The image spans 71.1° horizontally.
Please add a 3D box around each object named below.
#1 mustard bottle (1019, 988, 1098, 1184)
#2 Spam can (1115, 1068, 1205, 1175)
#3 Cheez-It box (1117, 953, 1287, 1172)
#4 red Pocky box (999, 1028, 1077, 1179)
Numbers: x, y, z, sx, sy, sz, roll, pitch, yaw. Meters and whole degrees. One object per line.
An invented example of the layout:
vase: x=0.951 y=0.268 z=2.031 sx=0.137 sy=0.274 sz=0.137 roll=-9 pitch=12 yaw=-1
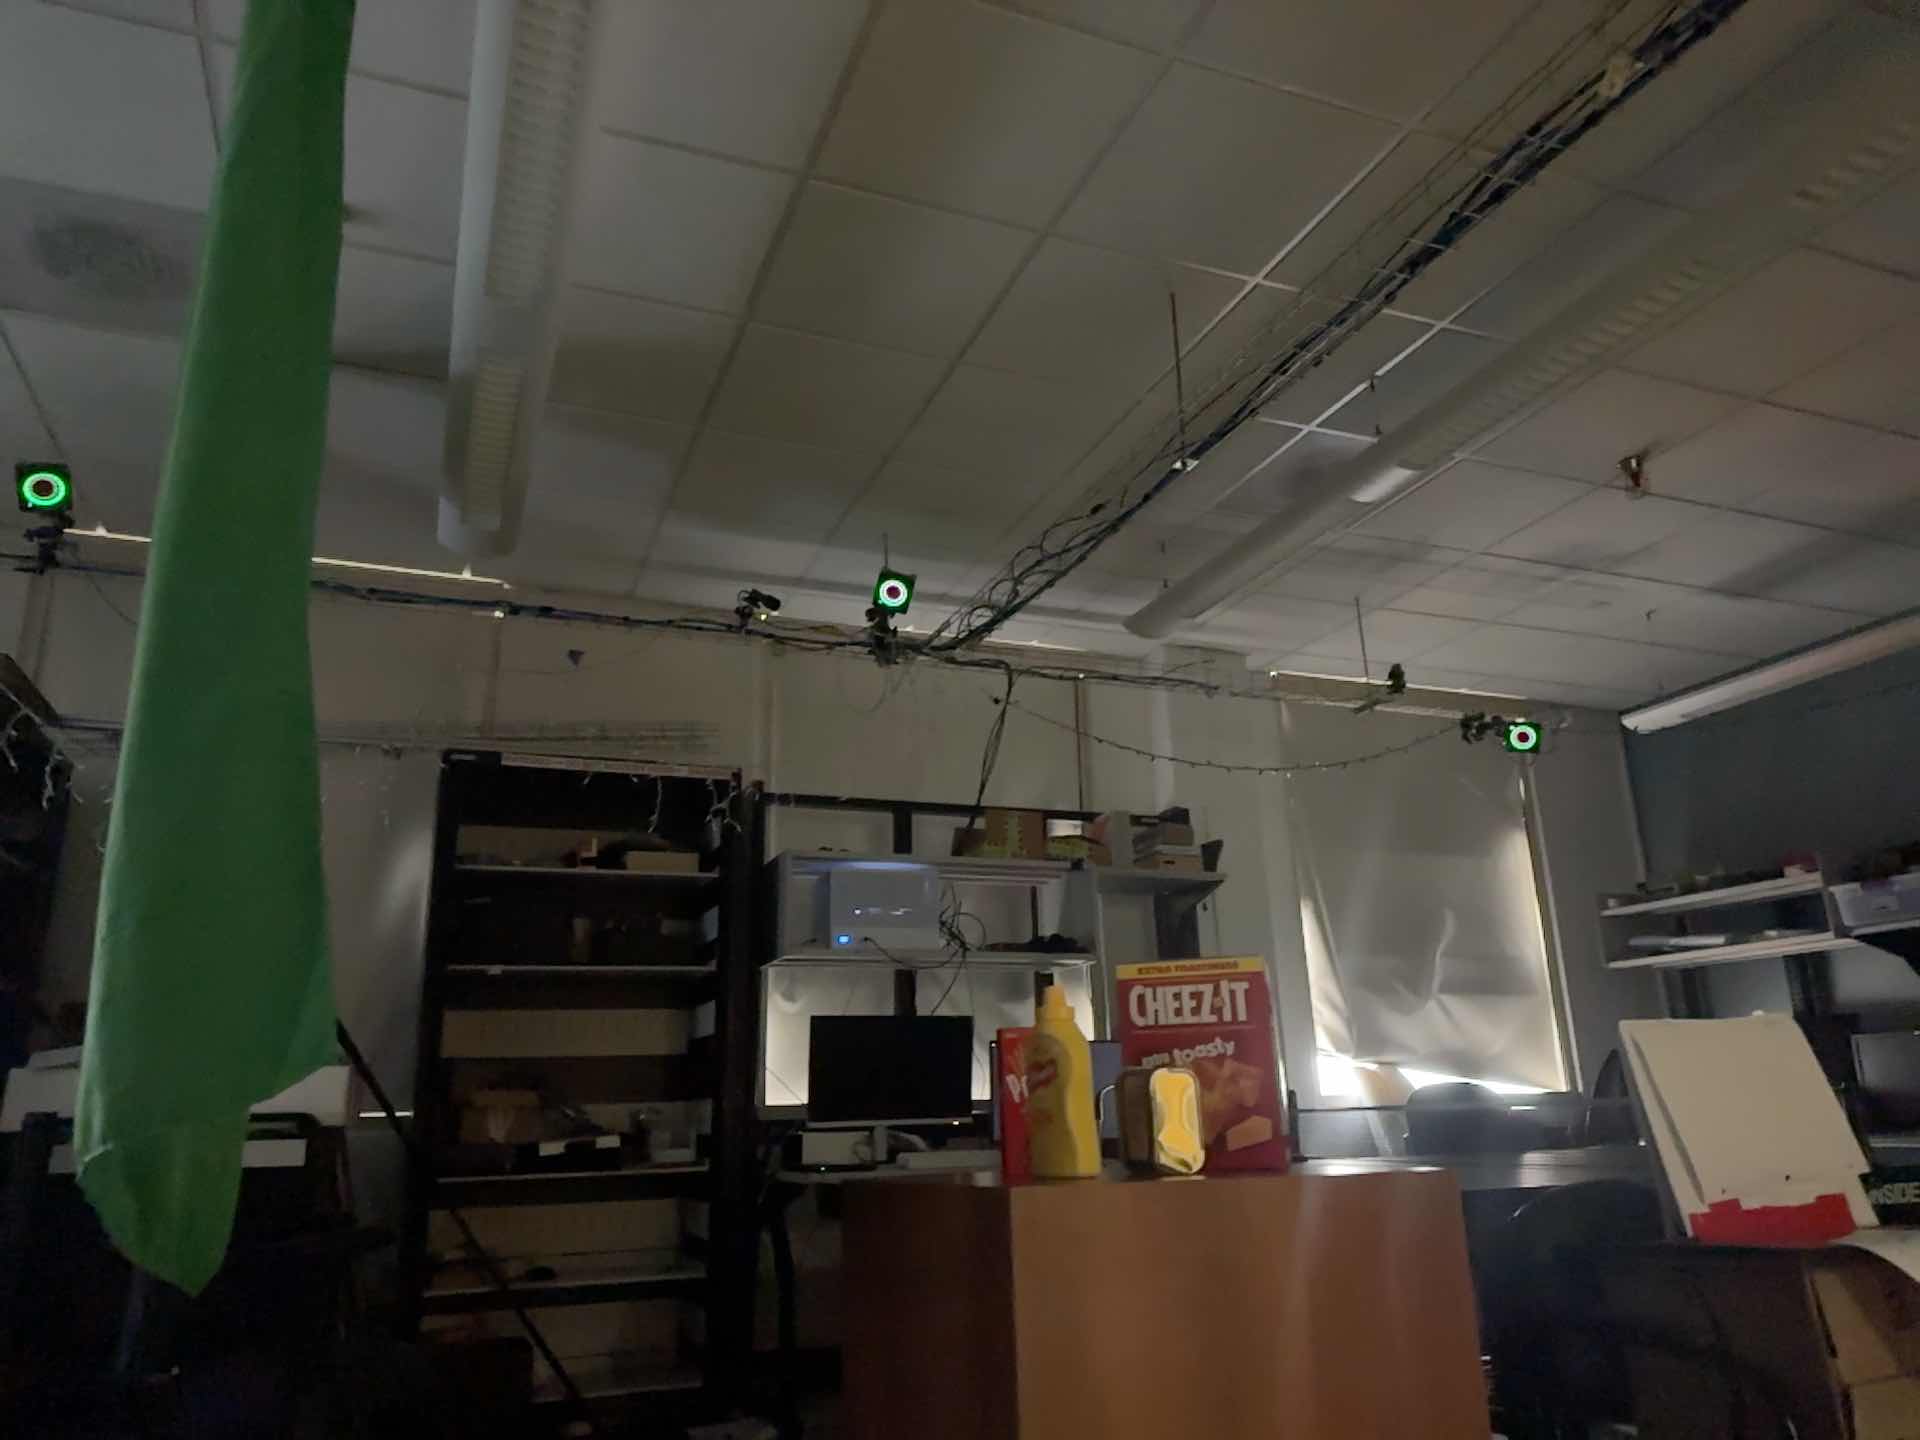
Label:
mustard bottle: x=0.092 y=0.355 z=1.315 sx=0.054 sy=0.184 sz=0.092 roll=4 pitch=-18 yaw=-22
Spam can: x=0.197 y=0.394 z=1.325 sx=0.056 sy=0.100 sz=0.083 roll=2 pitch=-16 yaw=-15
Cheez-It box: x=0.258 y=0.368 z=1.445 sx=0.159 sy=0.214 sz=0.062 roll=-4 pitch=-16 yaw=9
red Pocky box: x=0.087 y=0.409 z=1.438 sx=0.083 sy=0.155 sz=0.028 roll=0 pitch=-17 yaw=-8
